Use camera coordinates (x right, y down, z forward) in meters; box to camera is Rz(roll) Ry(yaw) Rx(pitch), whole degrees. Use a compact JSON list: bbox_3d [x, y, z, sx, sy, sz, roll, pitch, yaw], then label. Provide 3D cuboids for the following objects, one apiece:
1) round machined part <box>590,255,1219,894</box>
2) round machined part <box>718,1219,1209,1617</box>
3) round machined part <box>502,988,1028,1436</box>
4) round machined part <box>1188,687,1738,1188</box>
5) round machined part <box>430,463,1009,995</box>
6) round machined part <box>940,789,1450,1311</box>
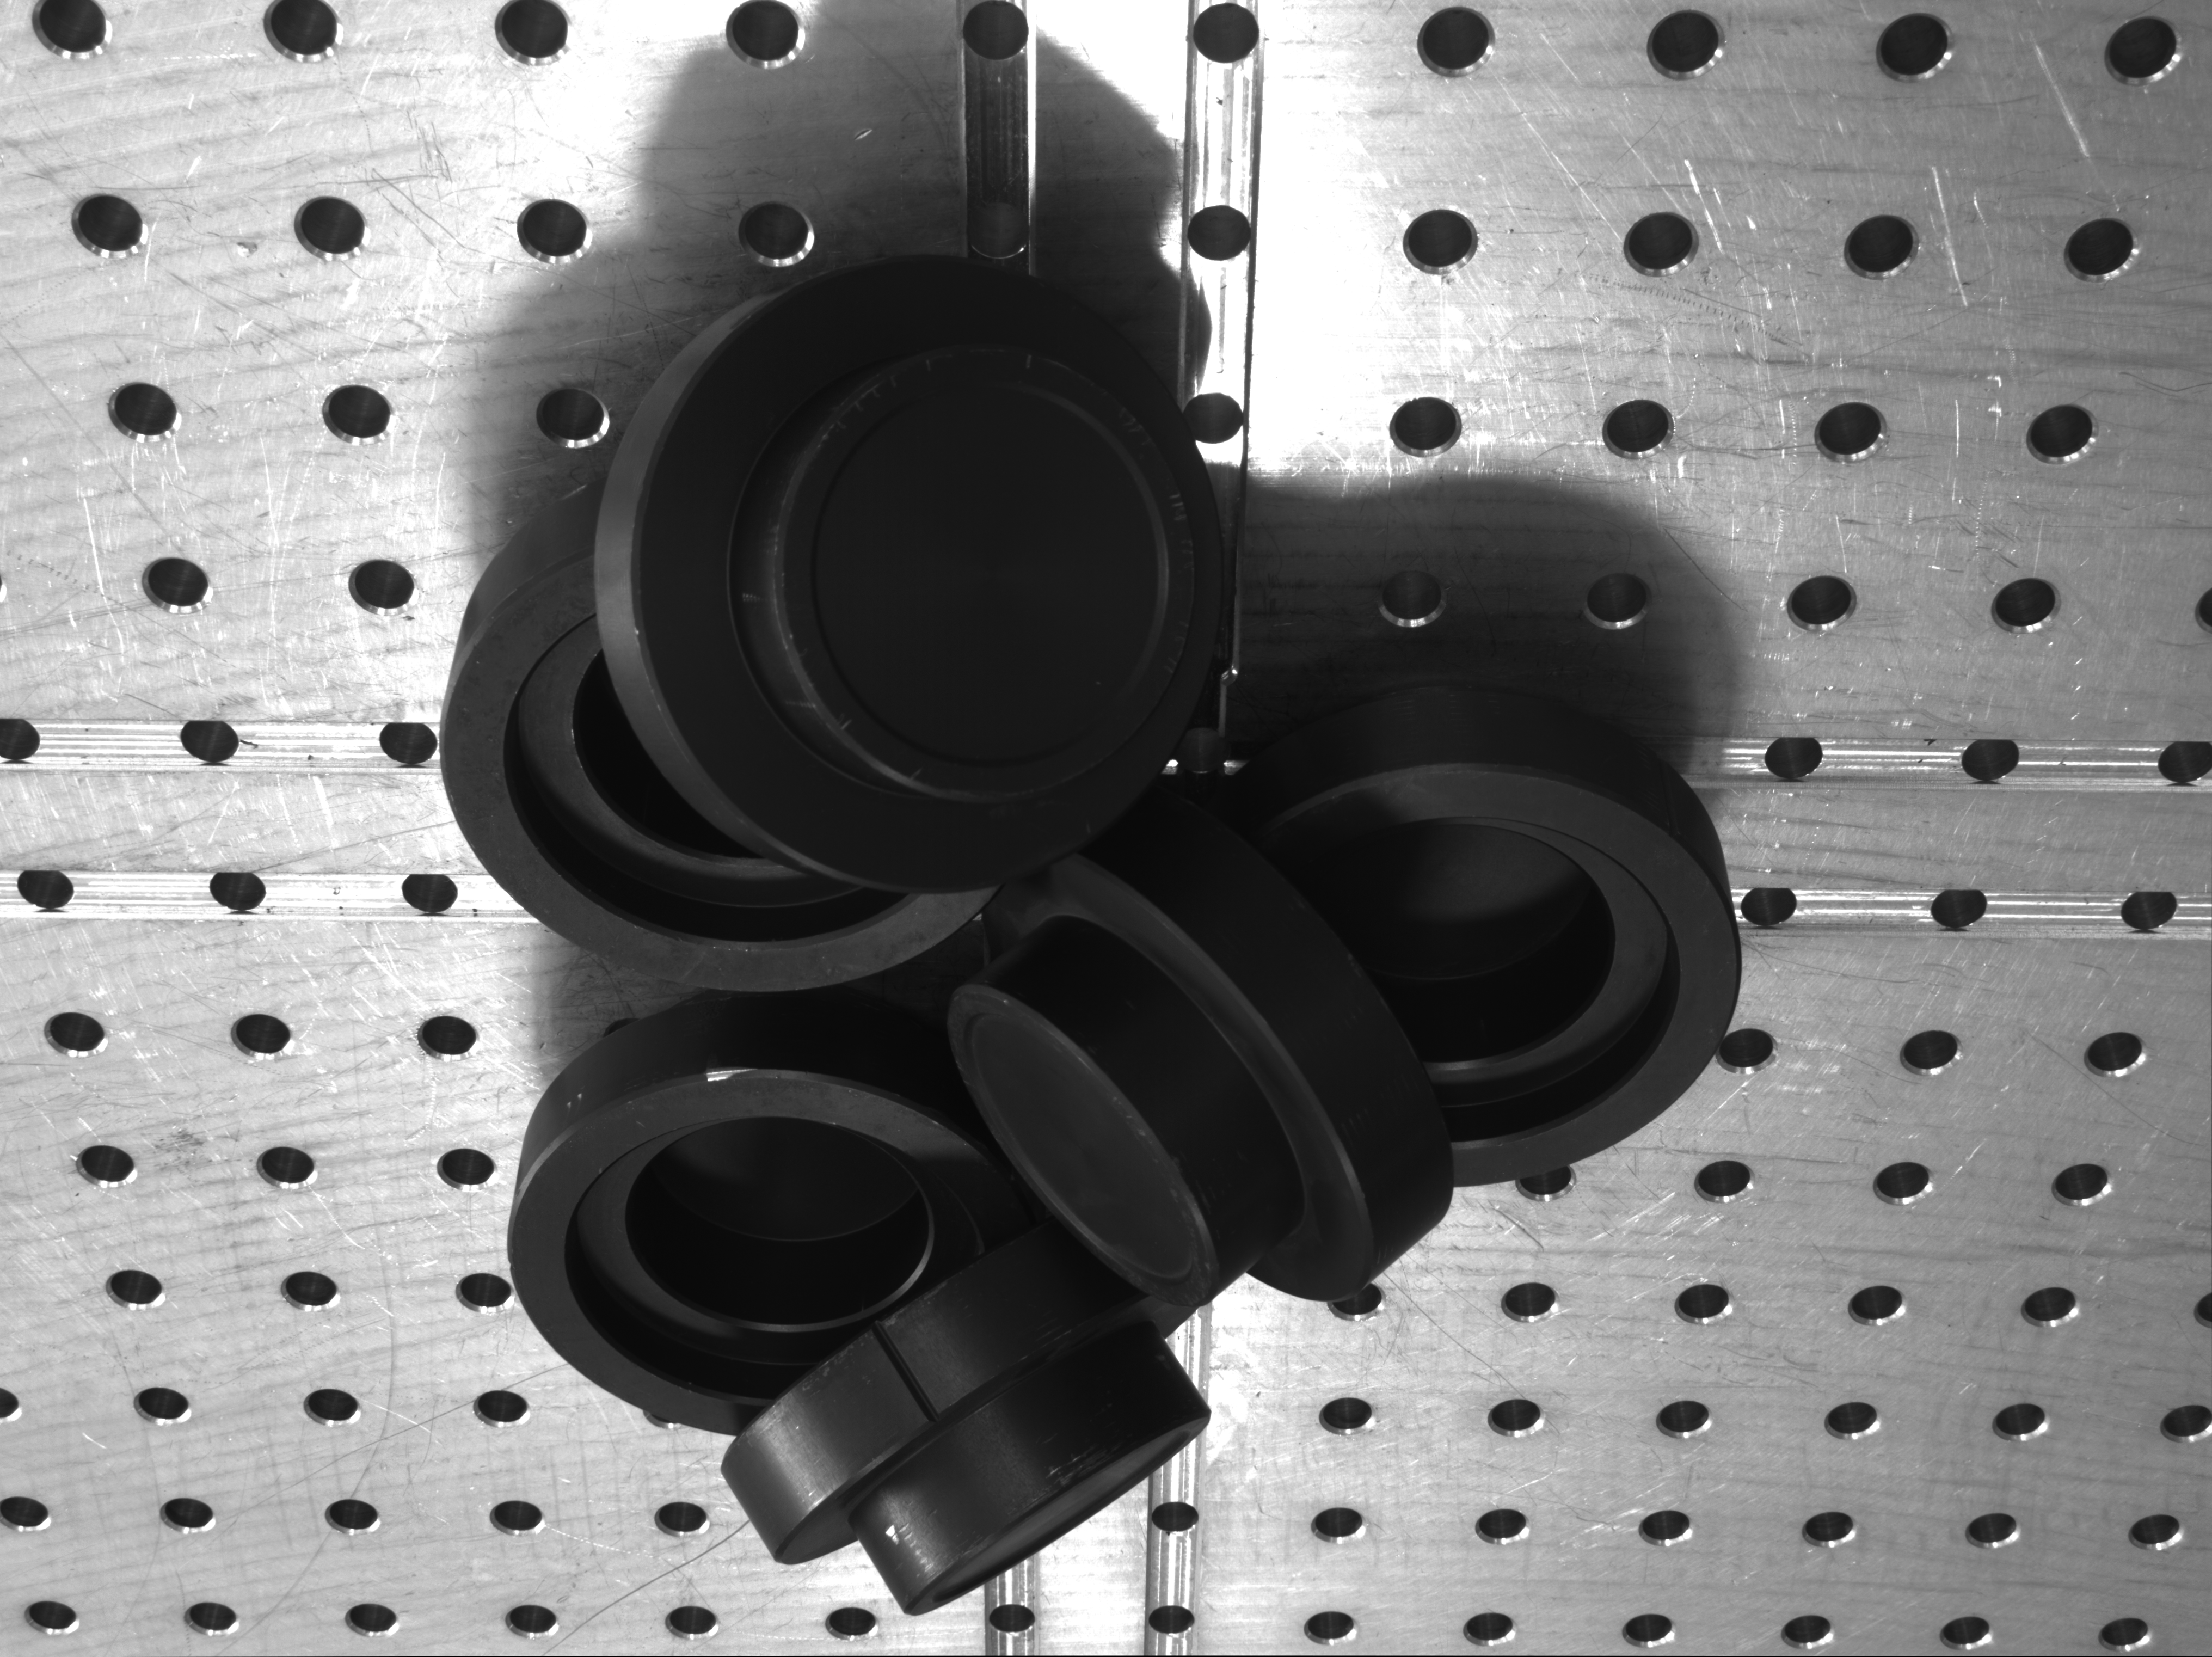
[{"bbox_3d":[-0.026,-0.039,0.563,0.098,0.042,0.098,-1,92,-25],"label":"round machined part"},{"bbox_3d":[-0.020,0.111,0.688,0.098,0.042,0.098,-32,165,-9],"label":"round machined part"},{"bbox_3d":[-0.061,0.067,0.687,0.098,0.042,0.098,0,130,0],"label":"round machined part"},{"bbox_3d":[0.059,0.014,0.643,0.098,0.042,0.098,0,130,0],"label":"round machined part"},{"bbox_3d":[-0.060,-0.022,0.612,0.098,0.042,0.098,0,130,0],"label":"round machined part"},{"bbox_3d":[0.009,0.043,0.629,0.042,0.098,0.098,-38,133,-23],"label":"round machined part"}]
